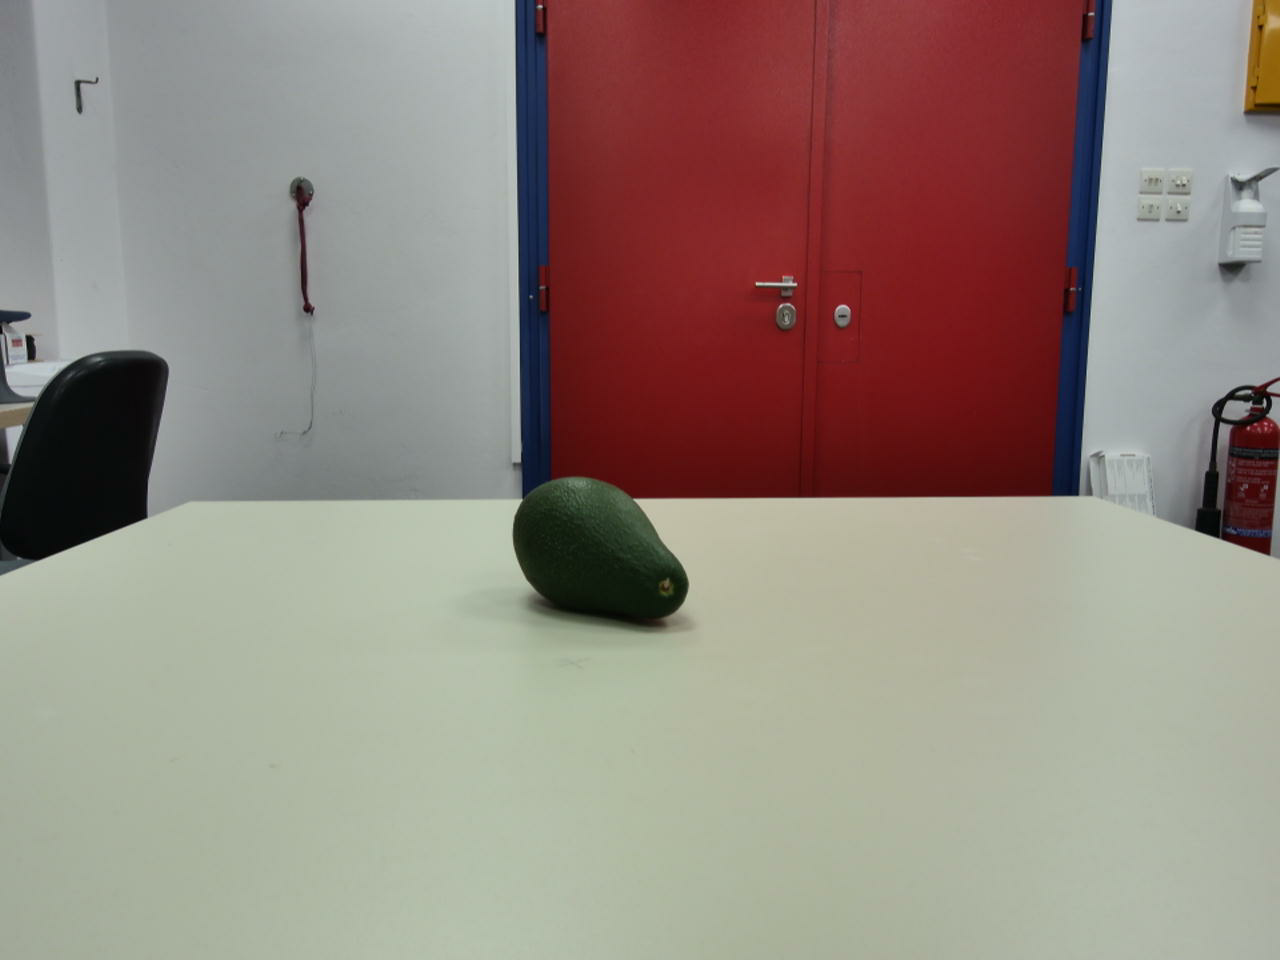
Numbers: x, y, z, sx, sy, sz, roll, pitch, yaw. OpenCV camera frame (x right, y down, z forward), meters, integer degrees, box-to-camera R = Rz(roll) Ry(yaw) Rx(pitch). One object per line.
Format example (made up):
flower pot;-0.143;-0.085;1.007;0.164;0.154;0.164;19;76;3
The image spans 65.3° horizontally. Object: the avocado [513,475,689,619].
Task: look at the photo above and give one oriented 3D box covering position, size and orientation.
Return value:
avocado;-0.025;0.035;0.529;0.072;0.071;0.110;-2;7;-23
